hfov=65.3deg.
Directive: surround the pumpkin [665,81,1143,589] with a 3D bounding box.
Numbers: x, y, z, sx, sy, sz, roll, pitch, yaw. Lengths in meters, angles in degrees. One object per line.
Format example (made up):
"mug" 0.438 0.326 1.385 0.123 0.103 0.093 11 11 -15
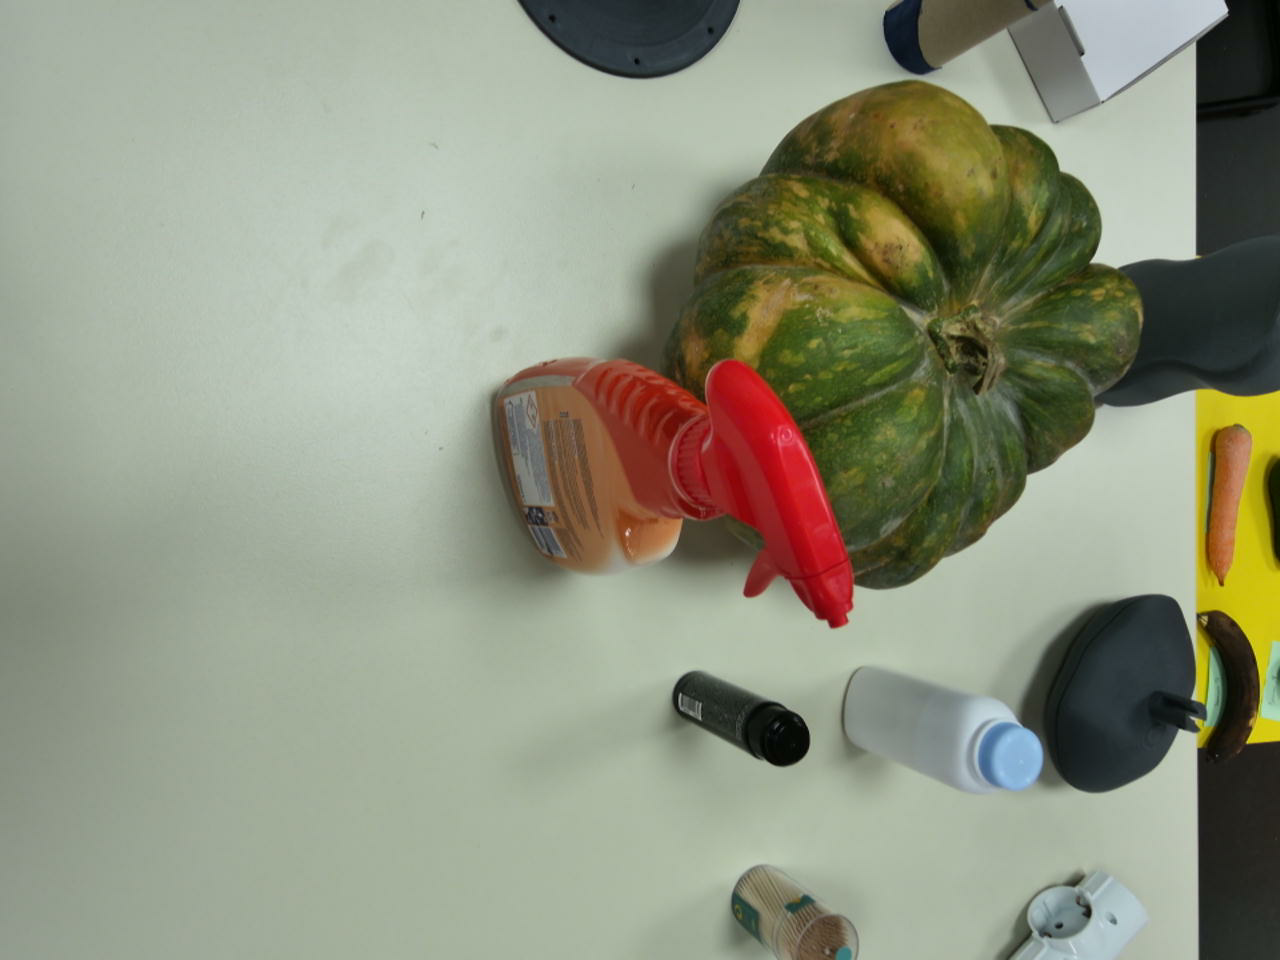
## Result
"pumpkin" 0.137 -0.072 0.533 0.237 0.173 0.270 39 77 -18
